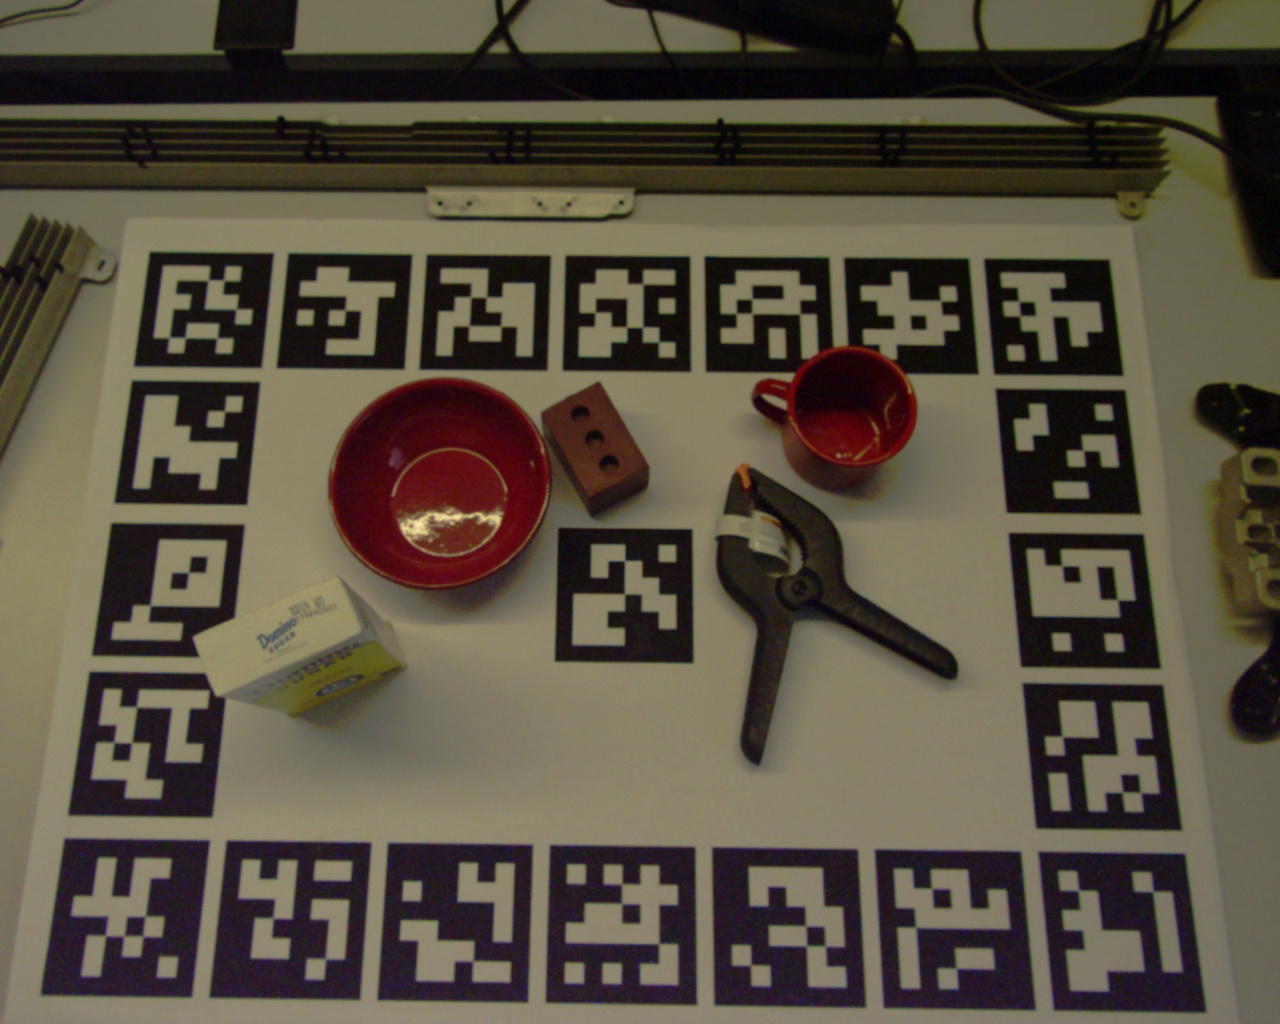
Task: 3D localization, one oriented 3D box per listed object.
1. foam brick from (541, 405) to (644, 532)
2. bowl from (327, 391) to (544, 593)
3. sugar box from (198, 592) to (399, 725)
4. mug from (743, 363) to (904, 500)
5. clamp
[{"bbox_3d":[-0.037,-0.032,0.886,0.052,0.051,0.078,-26,78,-6],"label":"foam brick"},{"bbox_3d":[-0.153,-0.008,0.872,0.161,0.055,0.162,0,75,-1],"label":"bowl"},{"bbox_3d":[-0.226,0.104,0.779,0.092,0.176,0.045,-24,79,-8],"label":"sugar box"},{"bbox_3d":[0.133,-0.062,0.870,0.117,0.081,0.093,26,76,3],"label":"mug"},{"bbox_3d":[0.100,0.067,0.855,0.165,0.036,0.203,-23,77,-4],"label":"clamp"}]
